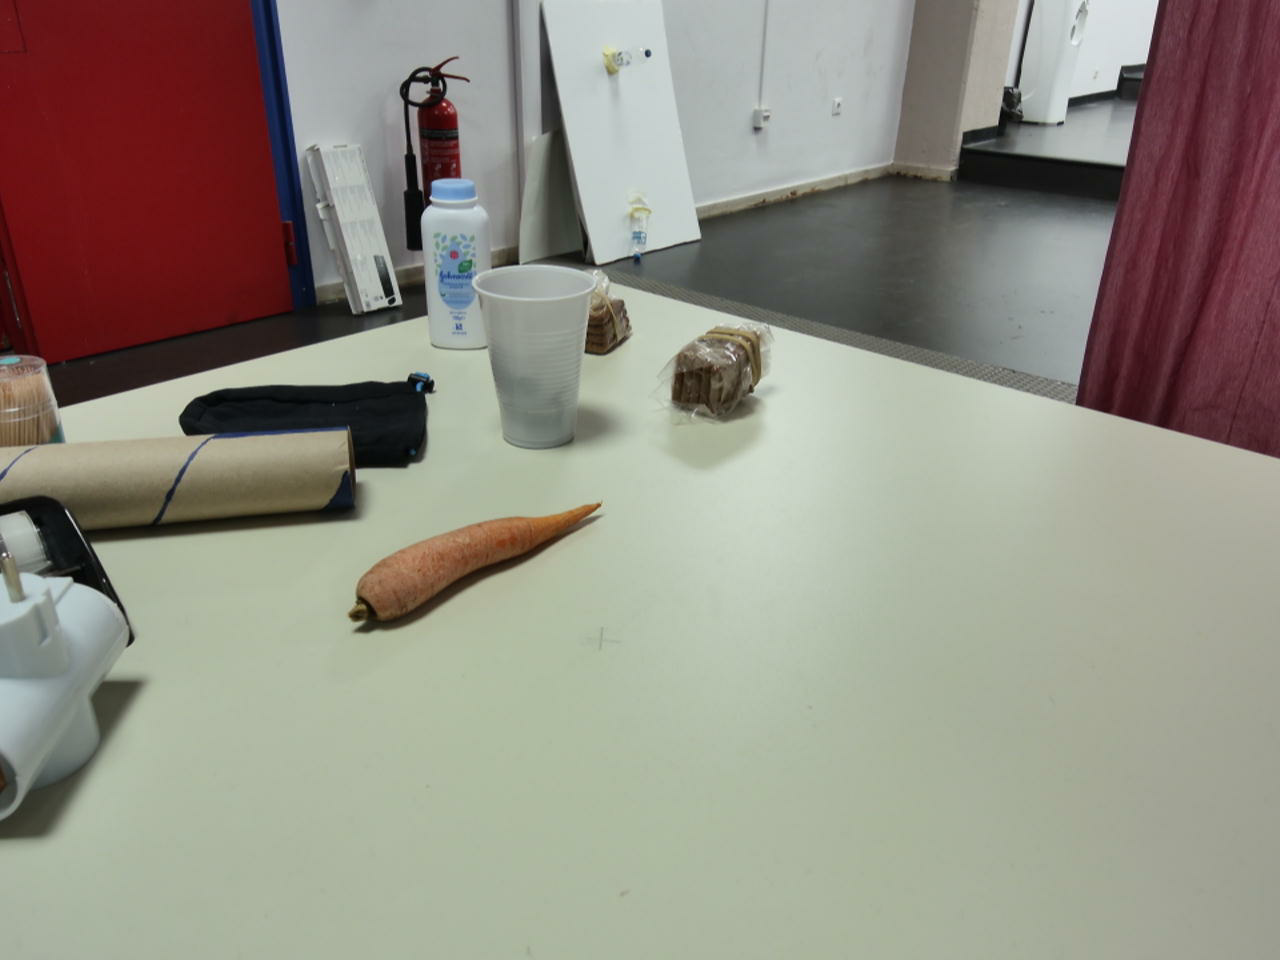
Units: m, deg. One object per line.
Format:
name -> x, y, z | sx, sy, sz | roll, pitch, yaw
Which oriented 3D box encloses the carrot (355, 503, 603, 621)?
carrot -> -0.082, 0.034, 0.528 | 0.031, 0.029, 0.163 | 21, 32, 37
